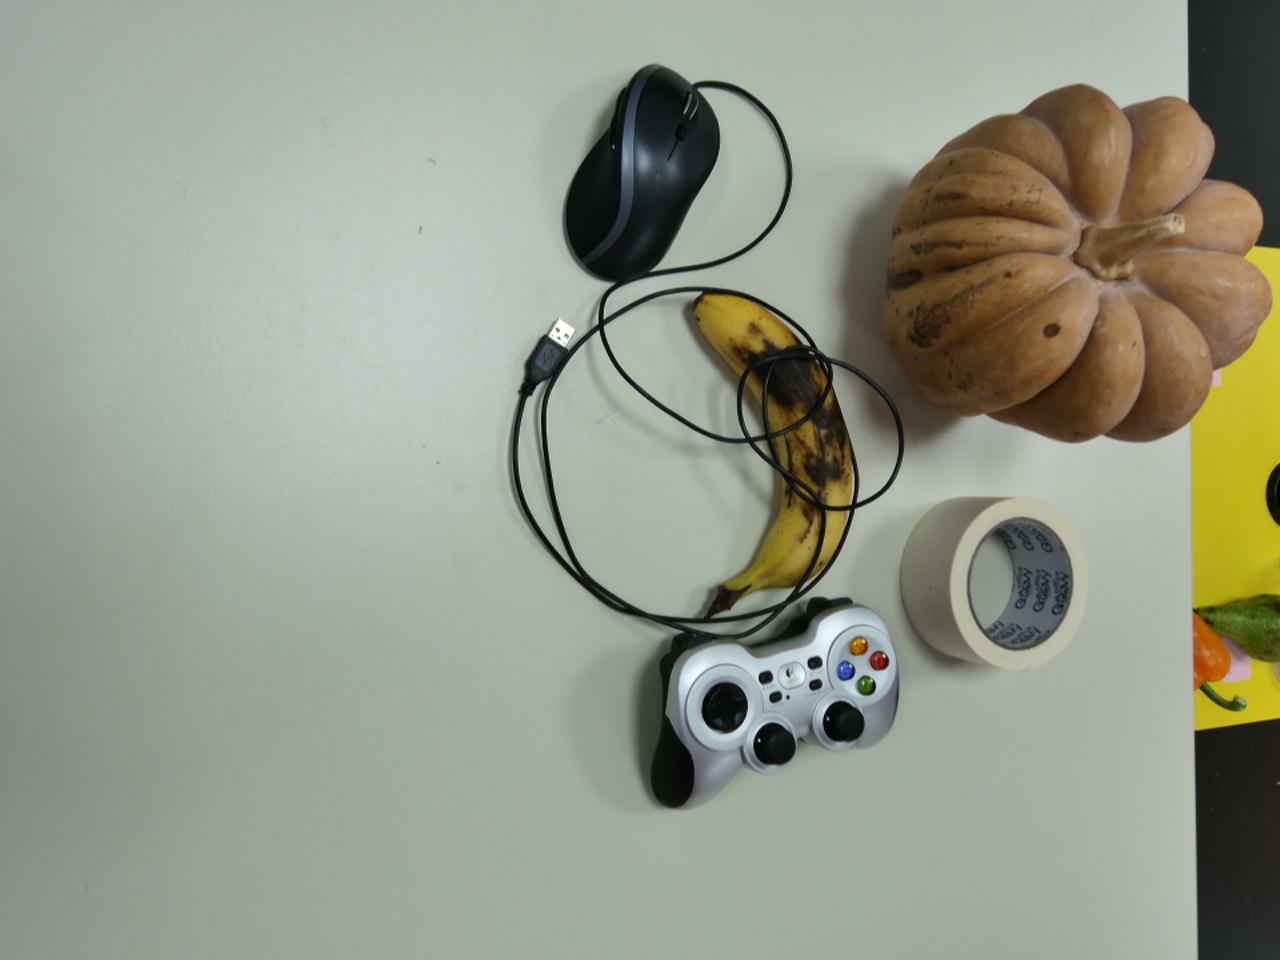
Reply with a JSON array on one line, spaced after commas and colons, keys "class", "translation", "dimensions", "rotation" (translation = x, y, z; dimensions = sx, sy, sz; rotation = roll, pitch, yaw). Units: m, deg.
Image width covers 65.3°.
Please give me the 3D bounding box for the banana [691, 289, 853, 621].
[{"class": "banana", "translation": [0.078, -0.017, 0.579], "dimensions": [0.094, 0.039, 0.187], "rotation": [-1, 91, -22]}]
